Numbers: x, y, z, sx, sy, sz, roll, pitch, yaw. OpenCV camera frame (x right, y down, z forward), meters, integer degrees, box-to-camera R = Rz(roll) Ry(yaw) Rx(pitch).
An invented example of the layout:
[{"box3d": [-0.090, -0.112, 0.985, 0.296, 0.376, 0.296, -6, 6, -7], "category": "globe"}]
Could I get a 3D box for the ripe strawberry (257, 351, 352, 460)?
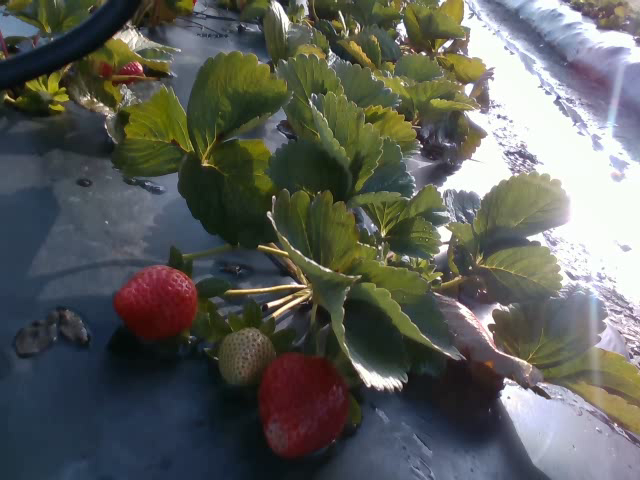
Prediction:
[{"box3d": [-0.012, 0.079, 0.280, 0.048, 0.050, 0.065, -13, 24, 28], "category": "ripe strawberry"}]
